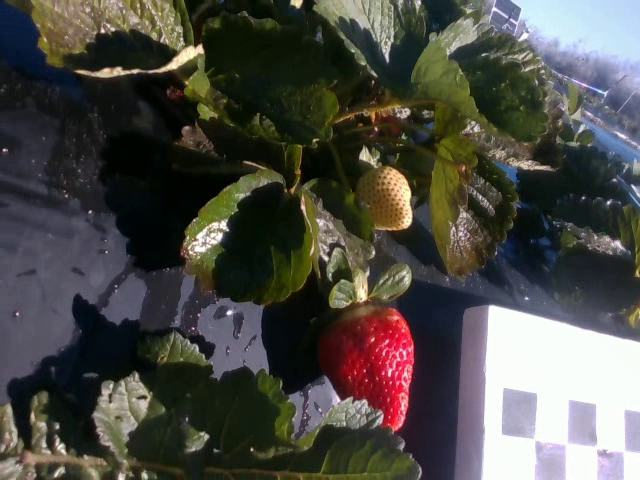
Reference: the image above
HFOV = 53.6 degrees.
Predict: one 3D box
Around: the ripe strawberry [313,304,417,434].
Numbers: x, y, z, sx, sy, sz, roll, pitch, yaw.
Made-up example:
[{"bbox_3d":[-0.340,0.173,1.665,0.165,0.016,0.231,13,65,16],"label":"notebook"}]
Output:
[{"bbox_3d":[0.025,0.061,0.294,0.048,0.069,0.040,-5,-15,-29],"label":"ripe strawberry"}]
